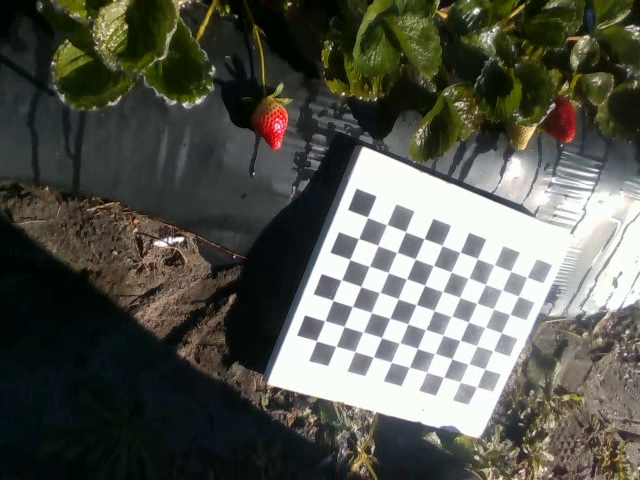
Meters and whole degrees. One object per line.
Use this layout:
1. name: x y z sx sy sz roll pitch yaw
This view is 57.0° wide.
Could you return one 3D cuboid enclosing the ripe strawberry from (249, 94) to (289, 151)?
1. ripe strawberry: -0.044 -0.108 0.546 0.039 0.053 0.040 -3 -2 -16
